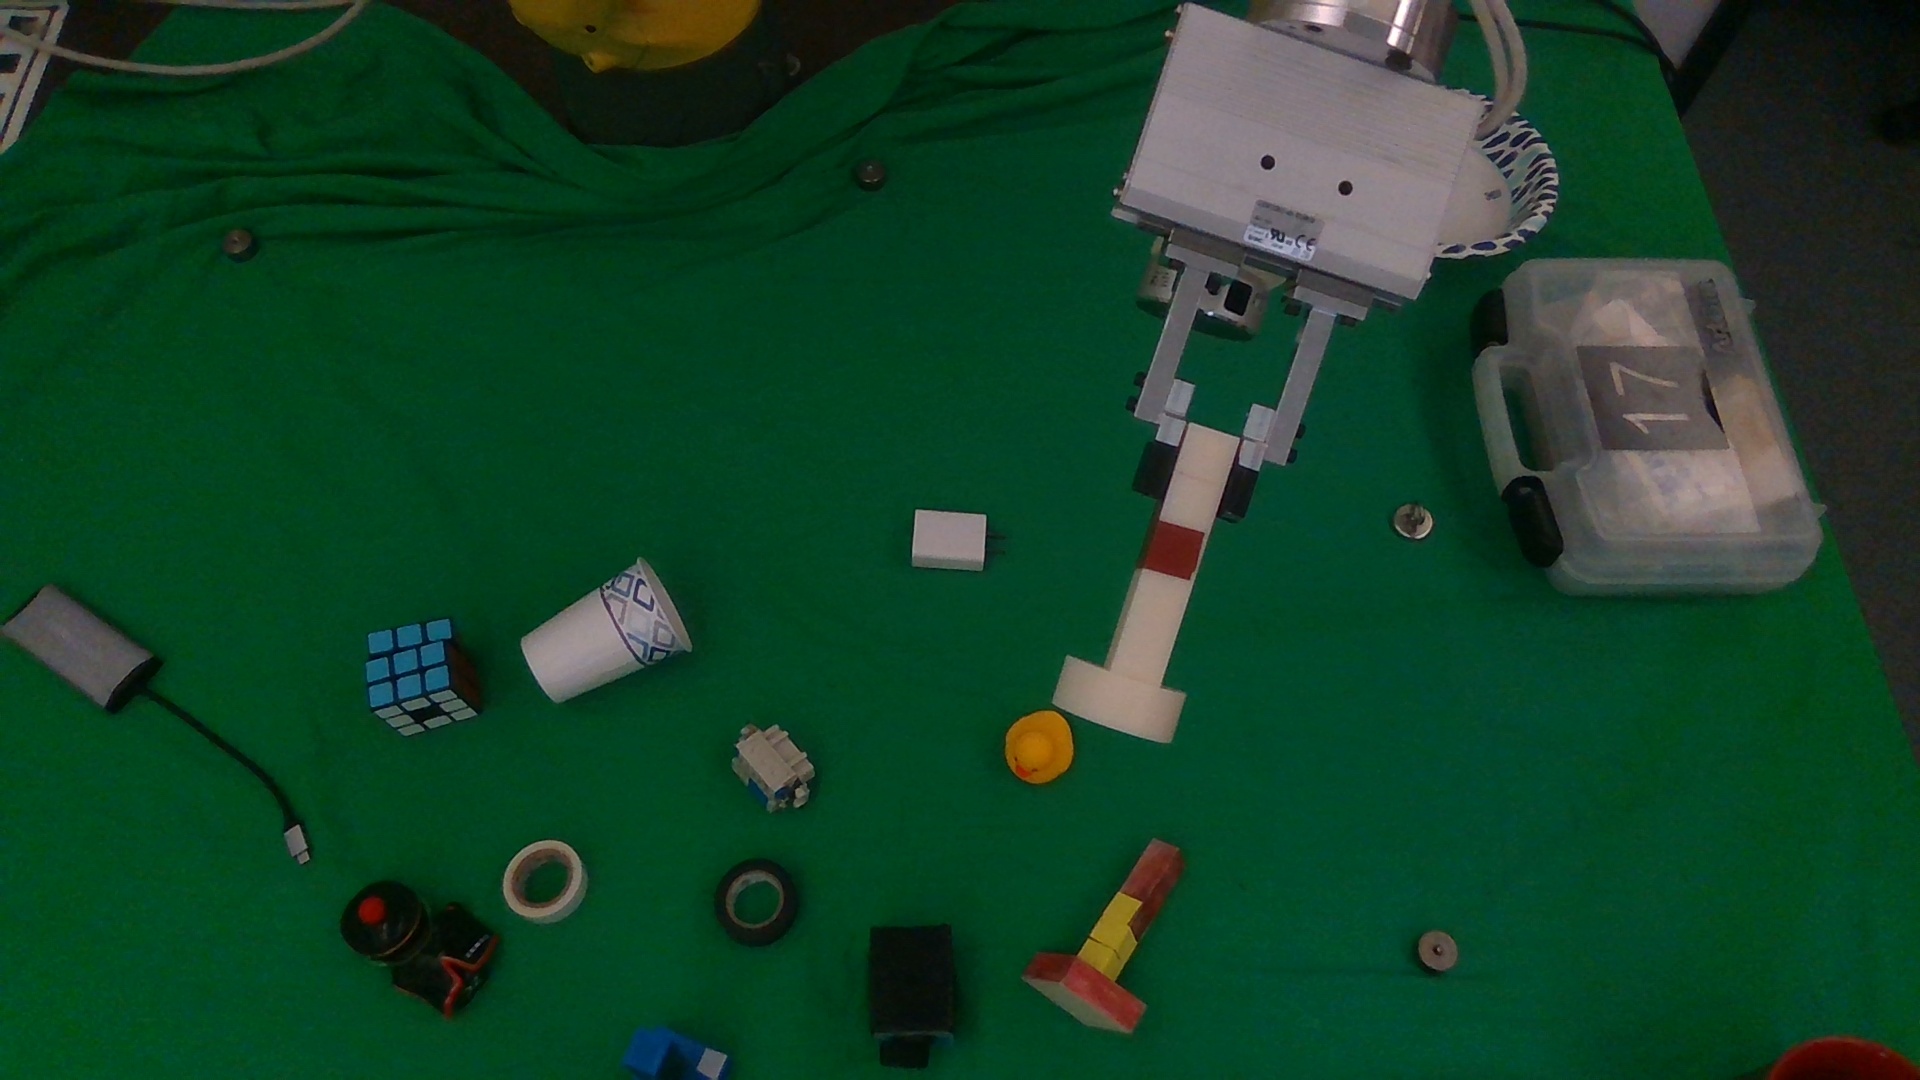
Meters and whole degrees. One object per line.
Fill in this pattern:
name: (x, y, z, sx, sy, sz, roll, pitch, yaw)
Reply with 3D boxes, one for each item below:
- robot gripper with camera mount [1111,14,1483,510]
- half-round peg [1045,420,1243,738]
robot gripper with camera mount: (0.105, -0.098, 0.589, 0.119, 0.193, 0.158, 17, 93, -1)
half-round peg: (0.077, 0.013, 0.531, 0.054, 0.031, 0.122, 19, 89, -12)
